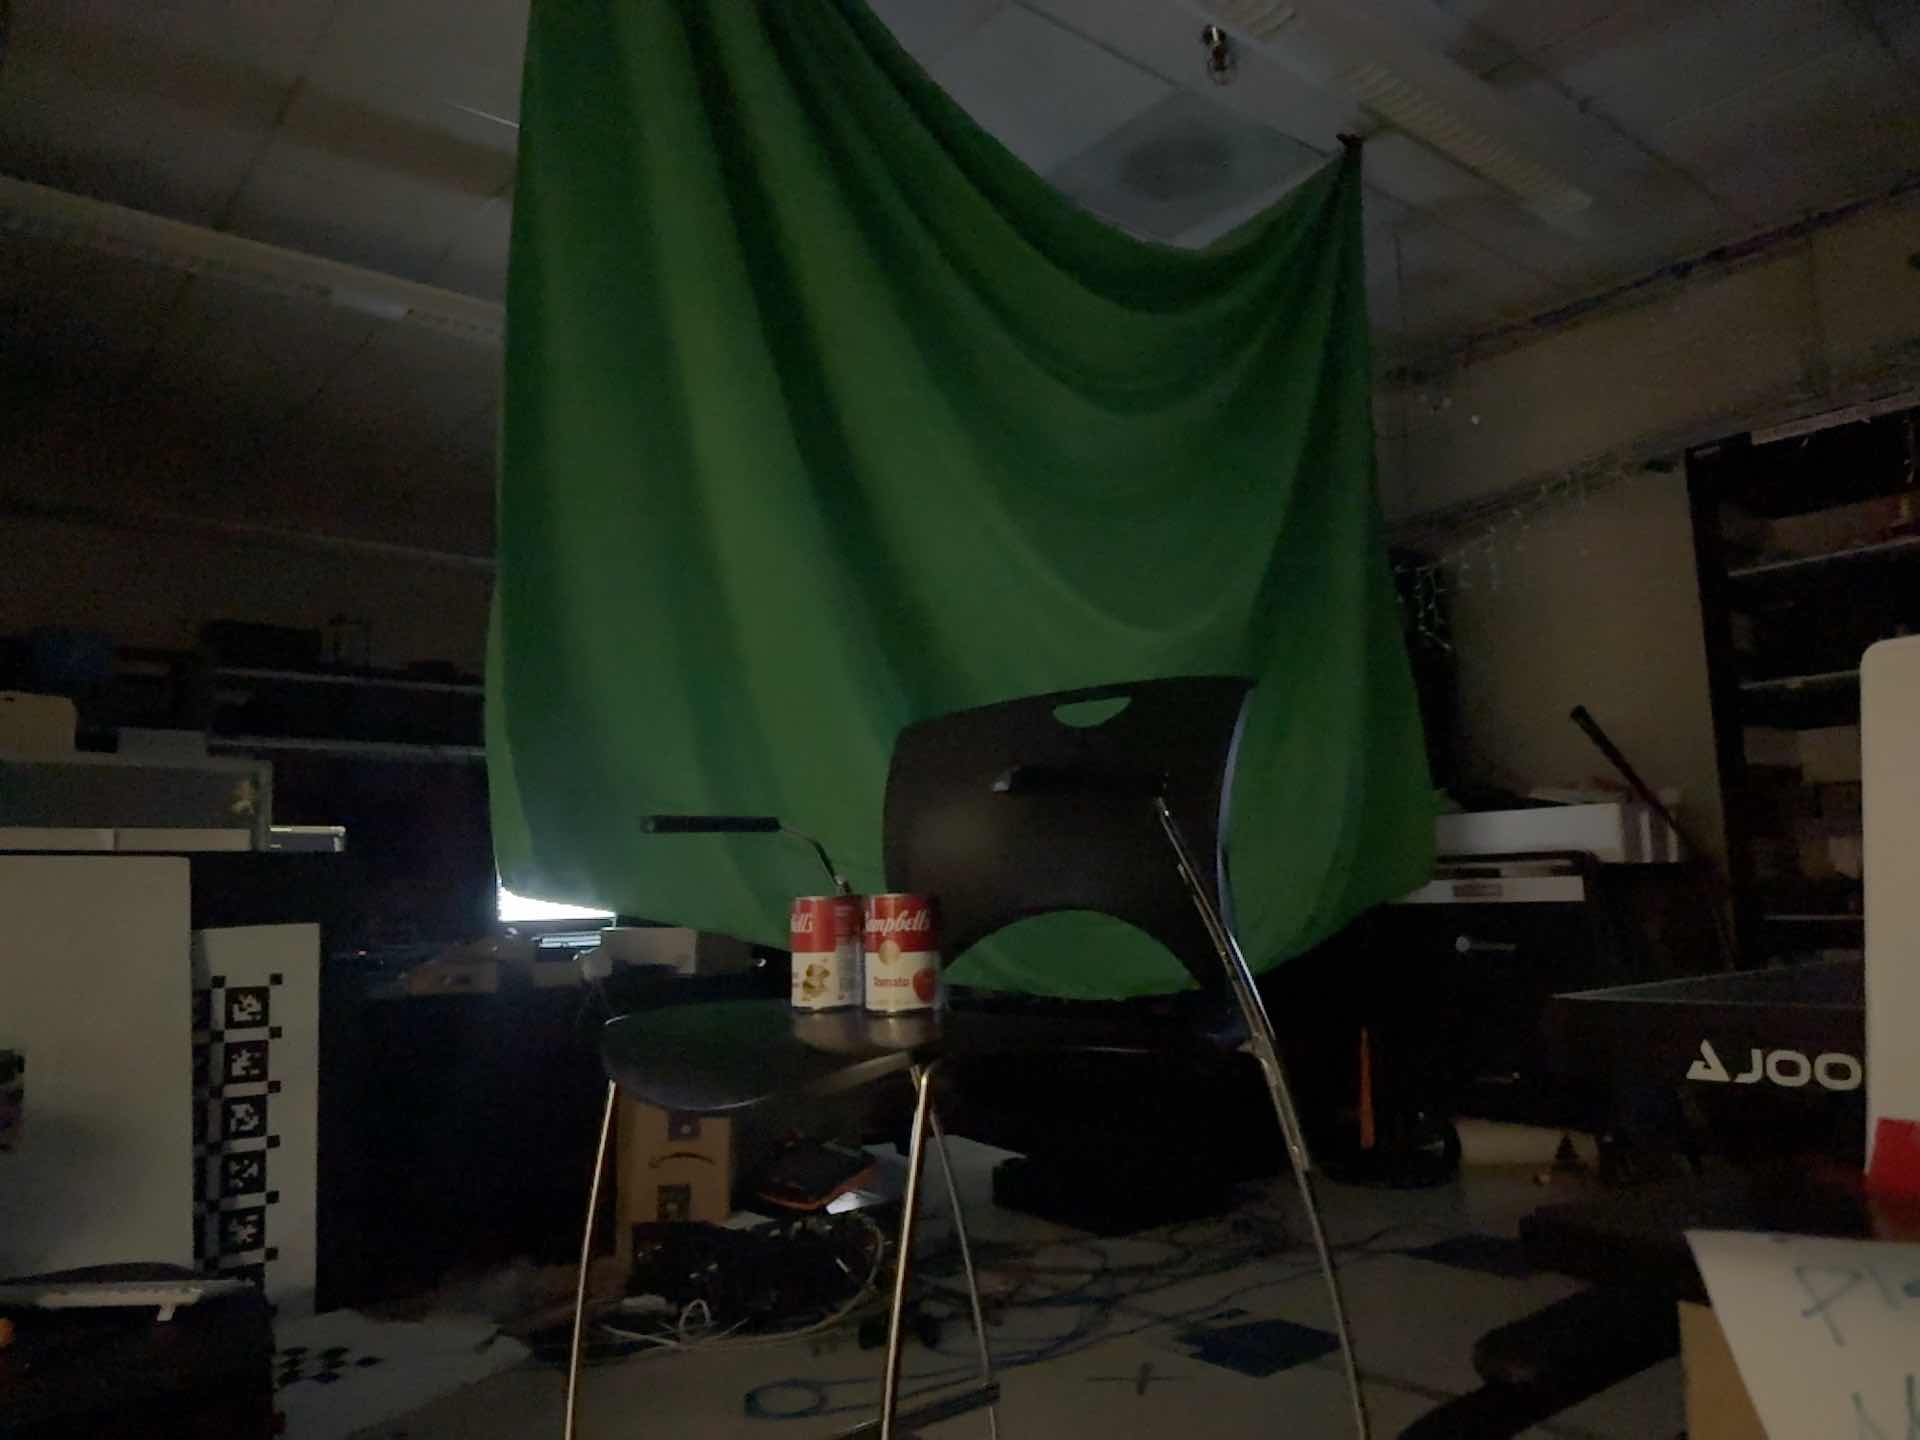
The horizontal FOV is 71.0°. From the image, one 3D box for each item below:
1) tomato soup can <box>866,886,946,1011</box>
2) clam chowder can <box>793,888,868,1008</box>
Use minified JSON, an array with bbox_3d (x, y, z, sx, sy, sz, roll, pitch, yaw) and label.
[{"bbox_3d":[-0.047,0.195,1.159,0.067,0.102,0.067,0,-4,0],"label":"tomato soup can"},{"bbox_3d":[-0.118,0.206,1.231,0.068,0.102,0.068,-1,-3,0],"label":"clam chowder can"}]
